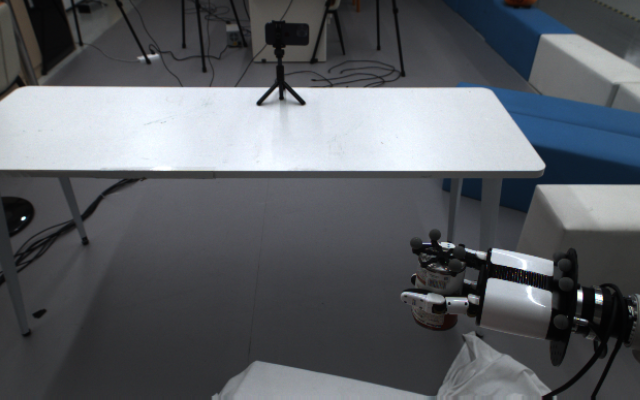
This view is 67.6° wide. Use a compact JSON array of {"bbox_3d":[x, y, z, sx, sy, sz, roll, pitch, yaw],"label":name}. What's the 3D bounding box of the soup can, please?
[{"bbox_3d":[0.173,0.127,0.700,0.067,0.101,0.067,1,25,0],"label":"soup can"}]
